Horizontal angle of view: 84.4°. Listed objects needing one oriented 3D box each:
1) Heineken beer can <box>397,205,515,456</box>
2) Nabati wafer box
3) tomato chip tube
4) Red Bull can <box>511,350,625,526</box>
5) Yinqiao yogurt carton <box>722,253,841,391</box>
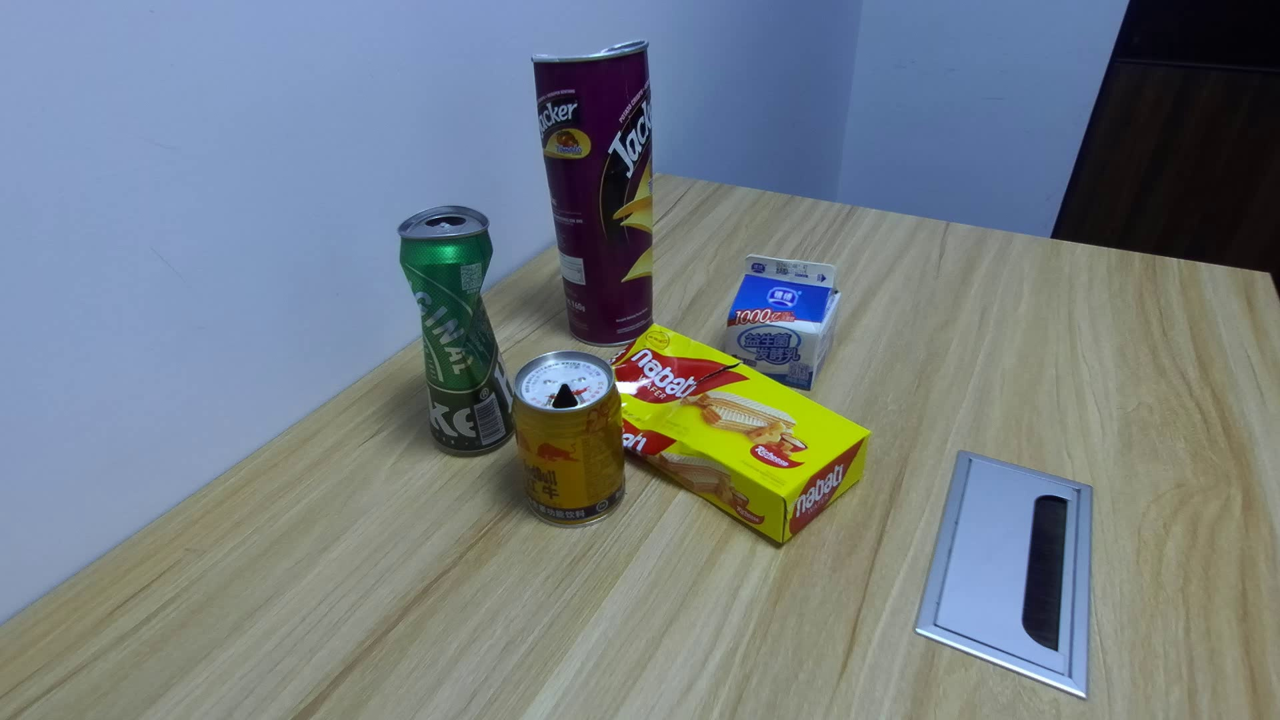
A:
[{"bbox_3d":[-0.123,-0.015,0.482,0.066,0.164,0.078,18,36,27],"label":"Heineken beer can"},{"bbox_3d":[0.042,0.041,0.493,0.107,0.042,0.203,-29,42,-35],"label":"Nabati wafer box"},{"bbox_3d":[-0.030,-0.128,0.575,0.077,0.235,0.076,5,34,11],"label":"tomato chip tube"},{"bbox_3d":[-0.043,0.048,0.441,0.067,0.093,0.067,-1,36,1],"label":"Red Bull can"},{"bbox_3d":[0.115,-0.039,0.562,0.075,0.092,0.074,13,35,23],"label":"Yinqiao yogurt carton"}]
